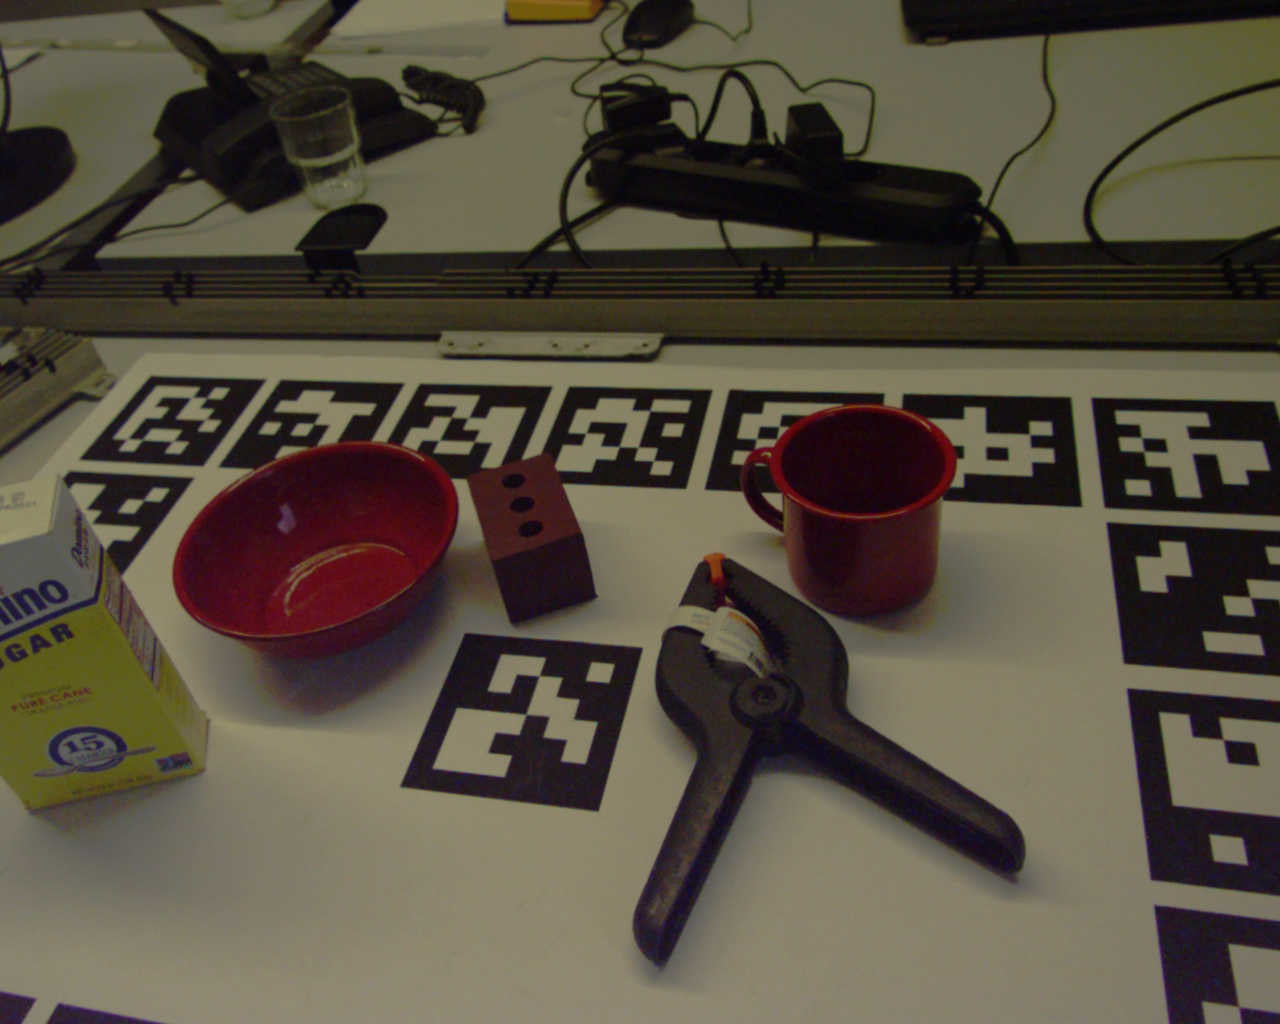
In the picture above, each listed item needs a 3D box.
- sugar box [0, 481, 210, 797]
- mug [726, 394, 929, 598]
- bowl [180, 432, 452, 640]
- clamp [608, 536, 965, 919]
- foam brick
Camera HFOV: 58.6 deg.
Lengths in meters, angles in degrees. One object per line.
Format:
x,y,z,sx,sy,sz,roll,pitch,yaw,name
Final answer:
-0.291,0.070,0.572,0.092,0.175,0.046,-14,45,-6,sugar box
0.100,-0.011,0.644,0.118,0.081,0.092,26,54,28,mug
-0.188,0.023,0.687,0.162,0.055,0.162,-5,44,4,bowl
0.047,0.090,0.576,0.165,0.036,0.204,-15,44,-2,clamp
-0.068,0.015,0.683,0.052,0.051,0.079,-17,45,-6,foam brick
